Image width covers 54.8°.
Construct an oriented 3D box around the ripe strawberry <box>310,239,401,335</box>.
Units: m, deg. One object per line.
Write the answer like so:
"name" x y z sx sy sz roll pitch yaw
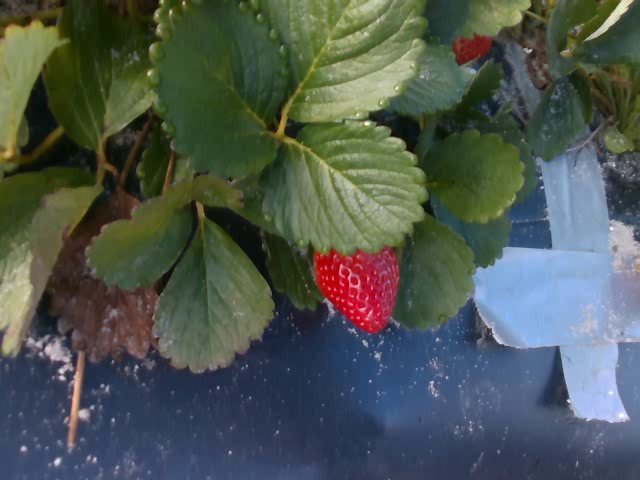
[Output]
"ripe strawberry" 0.007 0.008 0.112 0.018 0.023 0.021 -5 -26 -11
